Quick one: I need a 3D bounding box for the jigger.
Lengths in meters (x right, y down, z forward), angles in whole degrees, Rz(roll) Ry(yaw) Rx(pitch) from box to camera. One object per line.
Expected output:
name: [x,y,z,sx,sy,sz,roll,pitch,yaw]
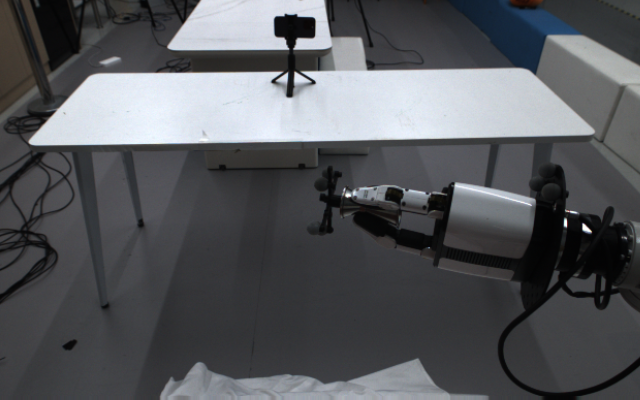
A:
jigger: [0.067,0.003,0.567,0.071,0.043,0.043,7,35,13]
